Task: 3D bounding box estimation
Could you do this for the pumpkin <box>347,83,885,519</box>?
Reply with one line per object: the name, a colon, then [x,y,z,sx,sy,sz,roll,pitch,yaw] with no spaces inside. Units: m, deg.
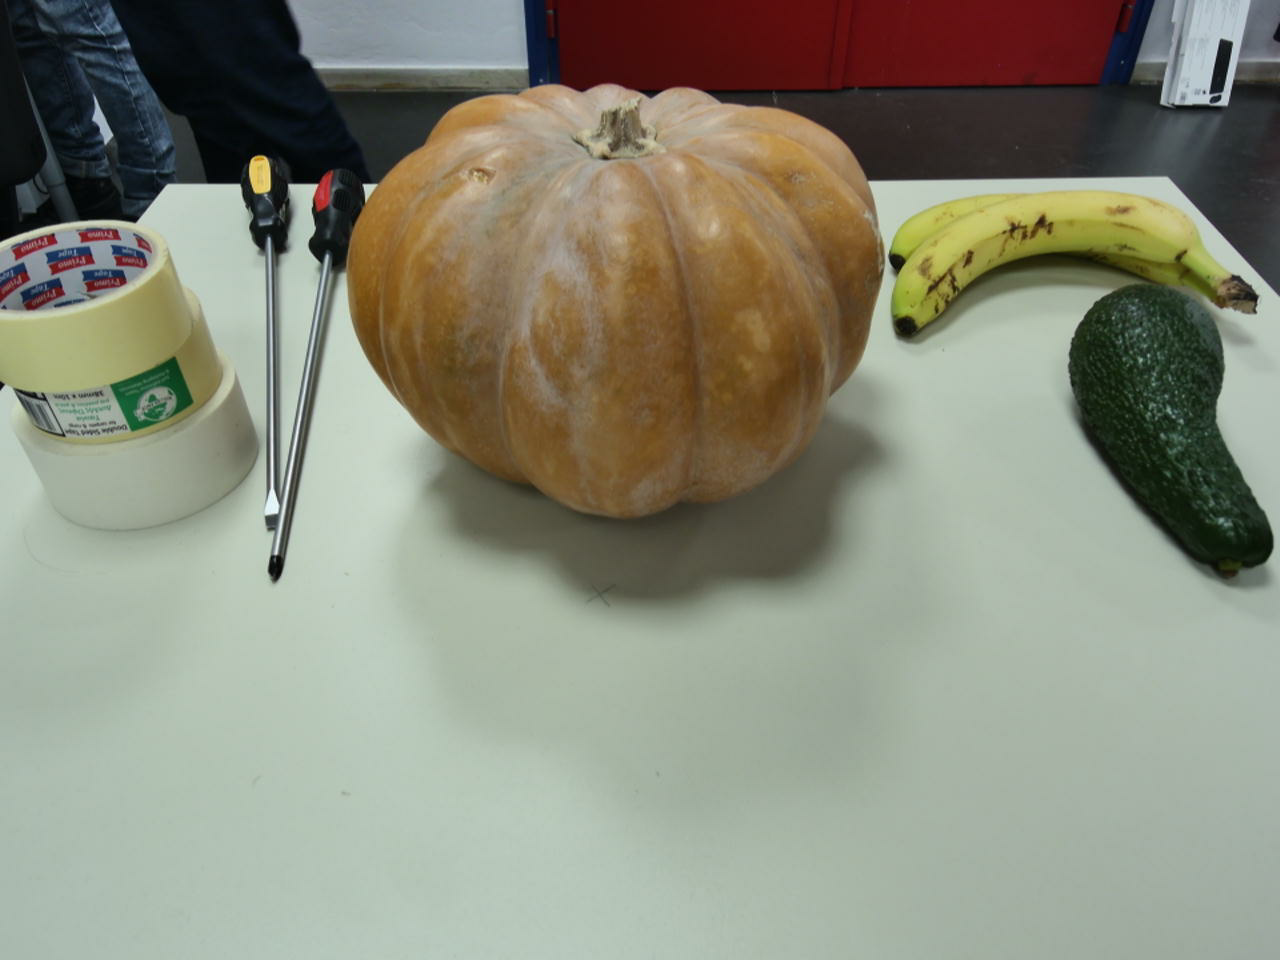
pumpkin: [-0.011,-0.099,0.509,0.277,0.181,0.277,0,39,0]
